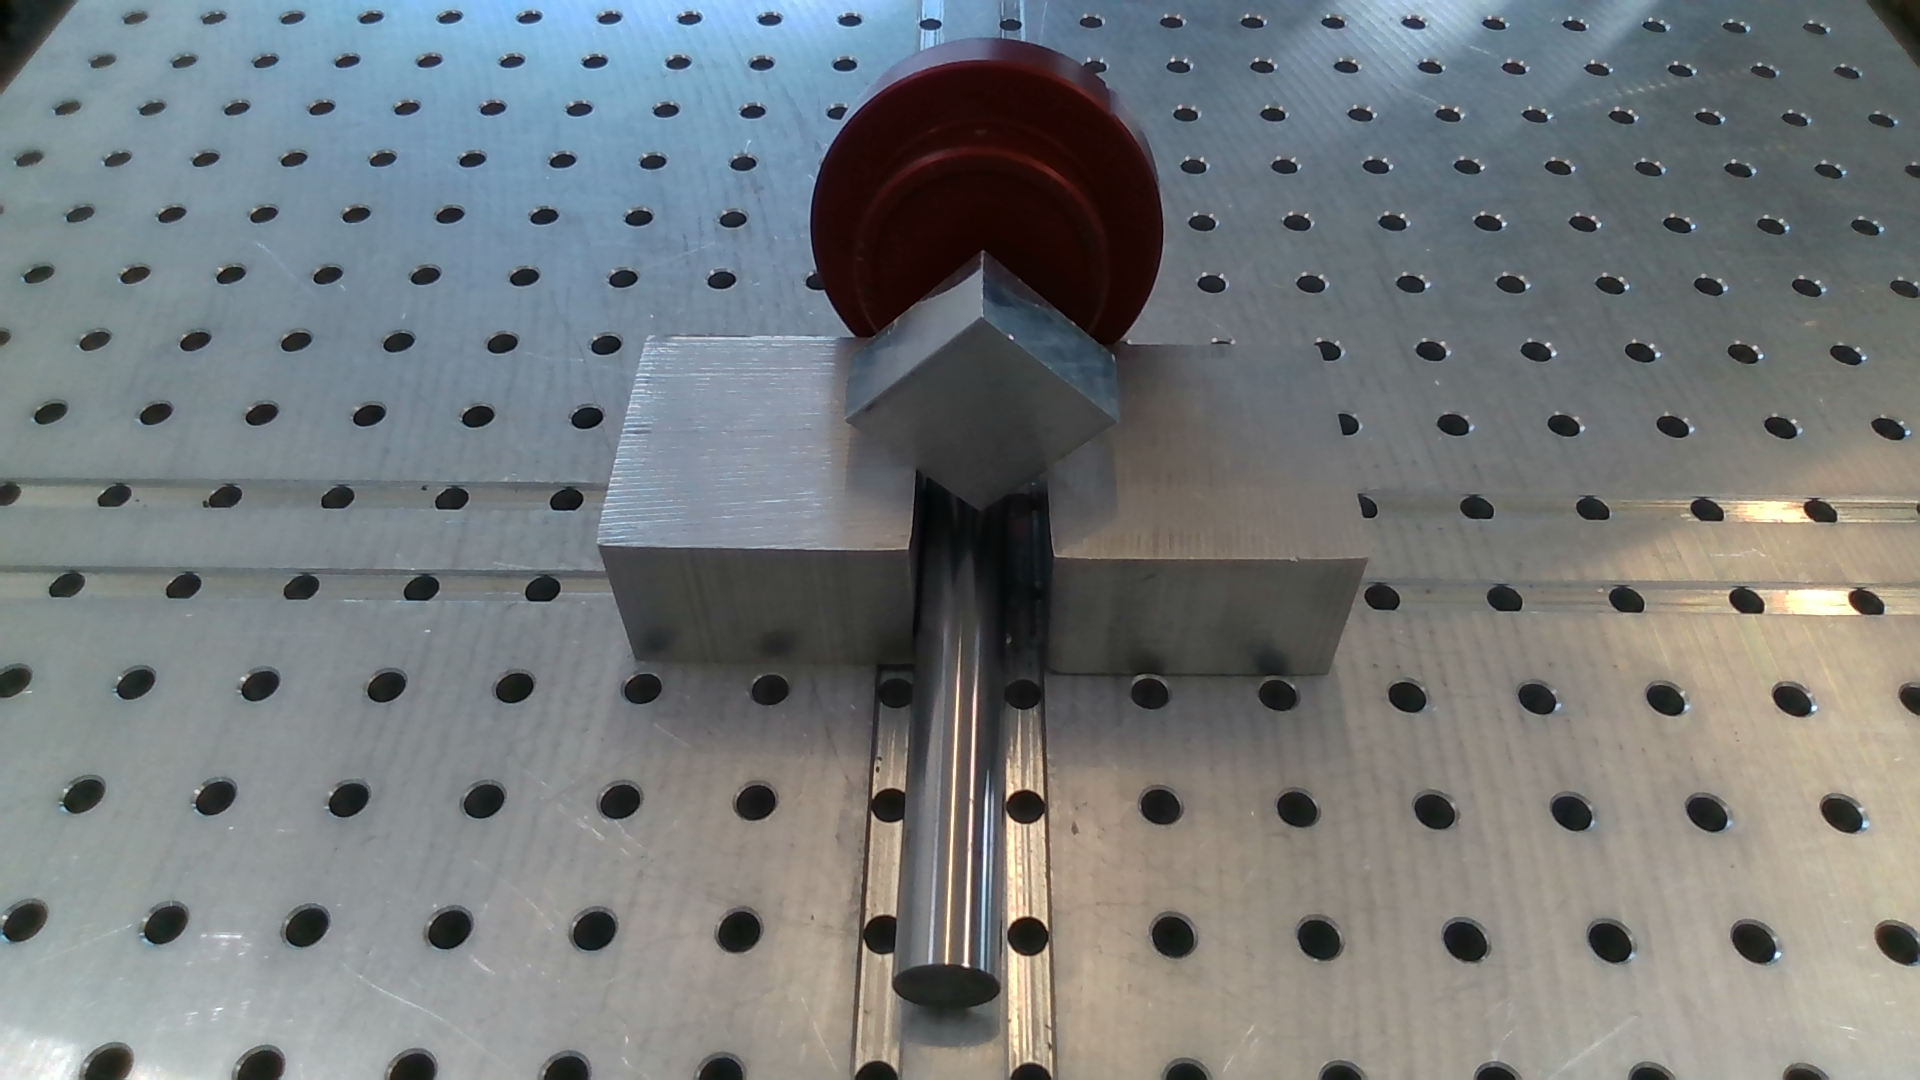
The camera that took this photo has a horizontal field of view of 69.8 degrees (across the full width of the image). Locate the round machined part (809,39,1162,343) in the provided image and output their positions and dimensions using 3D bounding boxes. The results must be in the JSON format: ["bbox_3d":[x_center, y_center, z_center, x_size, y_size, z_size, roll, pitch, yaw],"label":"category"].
[{"bbox_3d":[0.007,-0.083,0.381,0.098,0.098,0.042,3,36,3],"label":"round machined part"}]

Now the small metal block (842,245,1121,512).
[{"bbox_3d":[0.005,-0.040,0.357,0.050,0.050,0.025,32,41,-32],"label":"small metal block"}]

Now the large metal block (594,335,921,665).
[{"bbox_3d":[-0.051,-0.012,0.391,0.080,0.050,0.080,1,50,1],"label":"large metal block"}]

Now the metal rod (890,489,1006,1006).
[{"bbox_3d":[0.002,-0.014,0.408,0.025,0.025,0.299,1,50,1],"label":"metal rod"}]

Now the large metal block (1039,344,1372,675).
[{"bbox_3d":[0.063,-0.010,0.389,0.080,0.050,0.080,0,50,0],"label":"large metal block"}]
